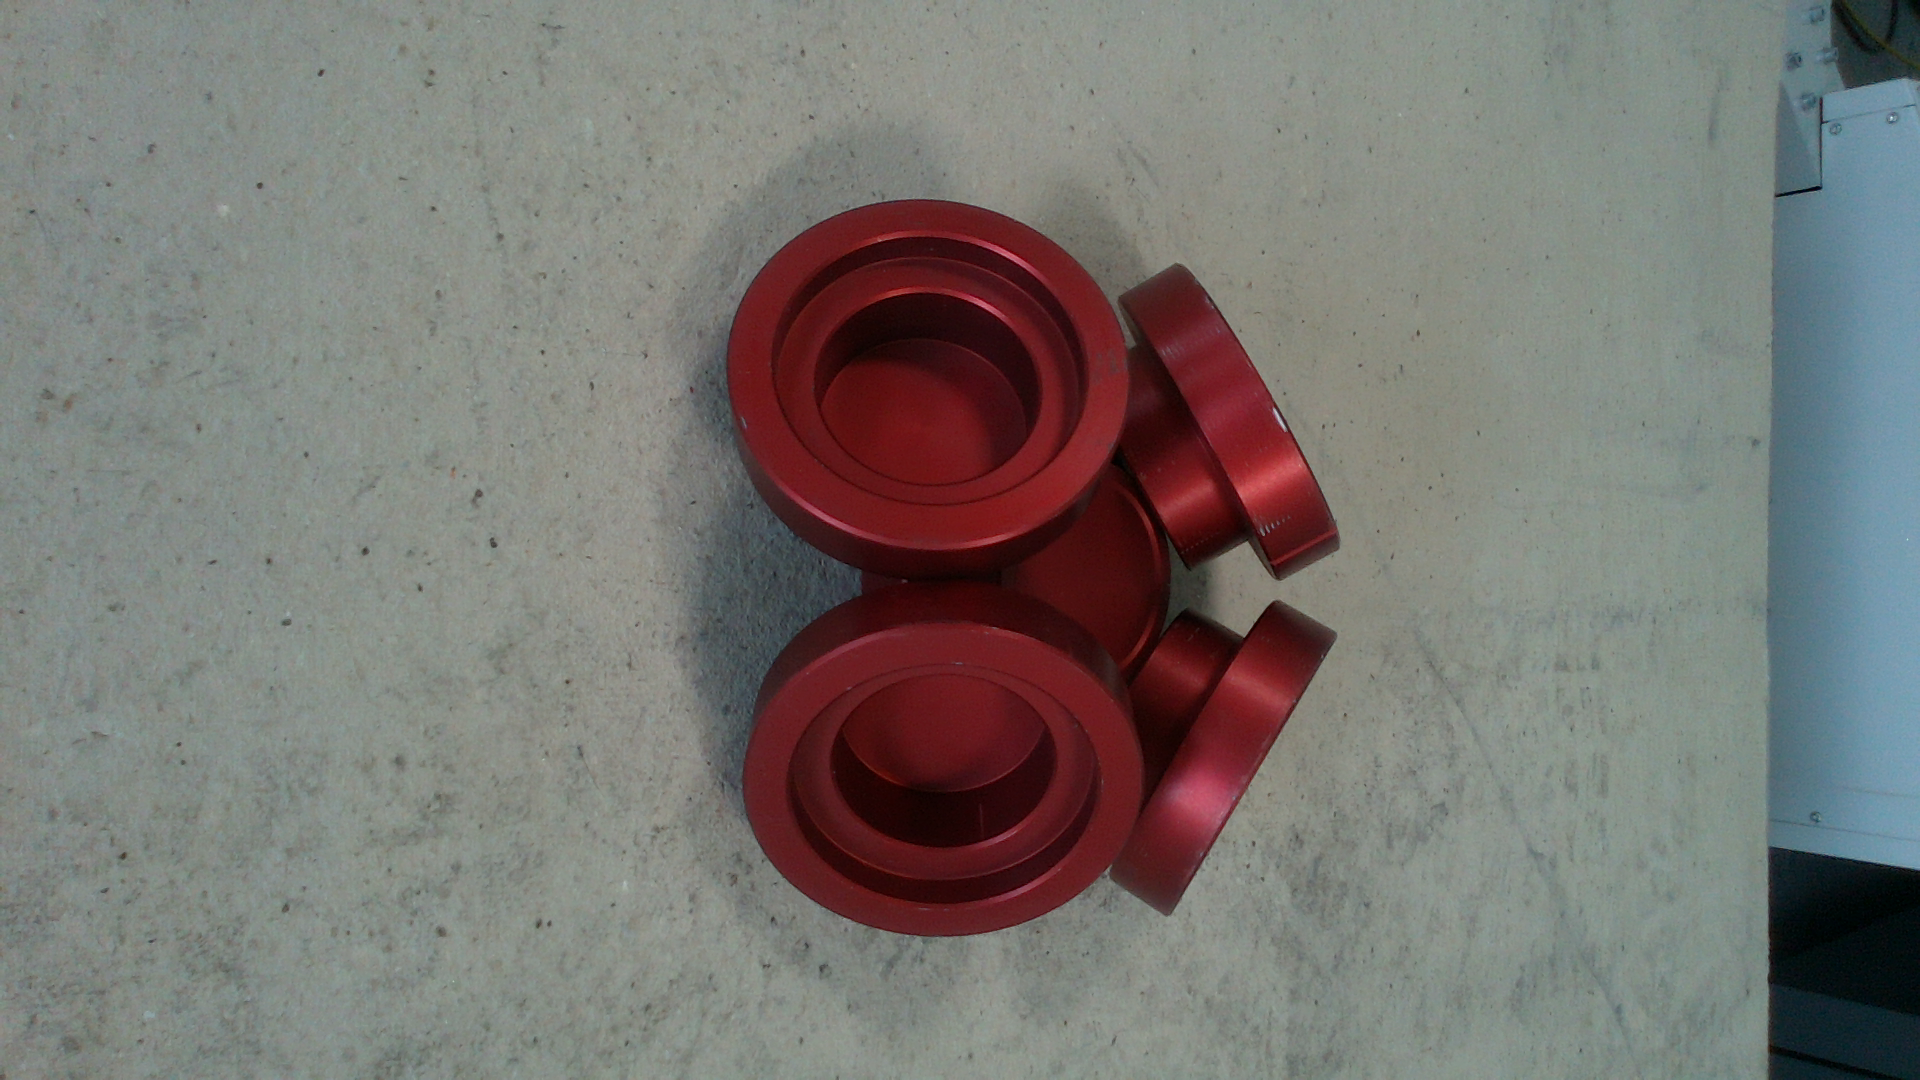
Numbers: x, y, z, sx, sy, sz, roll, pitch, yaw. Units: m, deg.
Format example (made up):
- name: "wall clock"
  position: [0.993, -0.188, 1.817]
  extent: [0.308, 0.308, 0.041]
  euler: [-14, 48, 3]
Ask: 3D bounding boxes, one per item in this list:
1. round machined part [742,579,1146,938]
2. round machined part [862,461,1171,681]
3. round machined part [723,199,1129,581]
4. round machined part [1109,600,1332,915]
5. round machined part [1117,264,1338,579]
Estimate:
- name: "round machined part"
  position: [-0.004, 0.051, 0.352]
  extent: [0.098, 0.098, 0.042]
  euler: [54, 15, -26]
- name: "round machined part"
  position: [0.023, 0.010, 0.397]
  extent: [0.098, 0.042, 0.098]
  euler: [2, 87, -41]
- name: "round machined part"
  position: [-0.009, -0.034, 0.350]
  extent: [0.098, 0.042, 0.098]
  euler: [2, 65, -5]
- name: "round machined part"
  position: [0.070, 0.060, 0.415]
  extent: [0.098, 0.042, 0.098]
  euler: [-53, 163, -22]
- name: "round machined part"
  position: [0.070, -0.030, 0.414]
  extent: [0.042, 0.098, 0.098]
  euler: [-30, 115, 8]
